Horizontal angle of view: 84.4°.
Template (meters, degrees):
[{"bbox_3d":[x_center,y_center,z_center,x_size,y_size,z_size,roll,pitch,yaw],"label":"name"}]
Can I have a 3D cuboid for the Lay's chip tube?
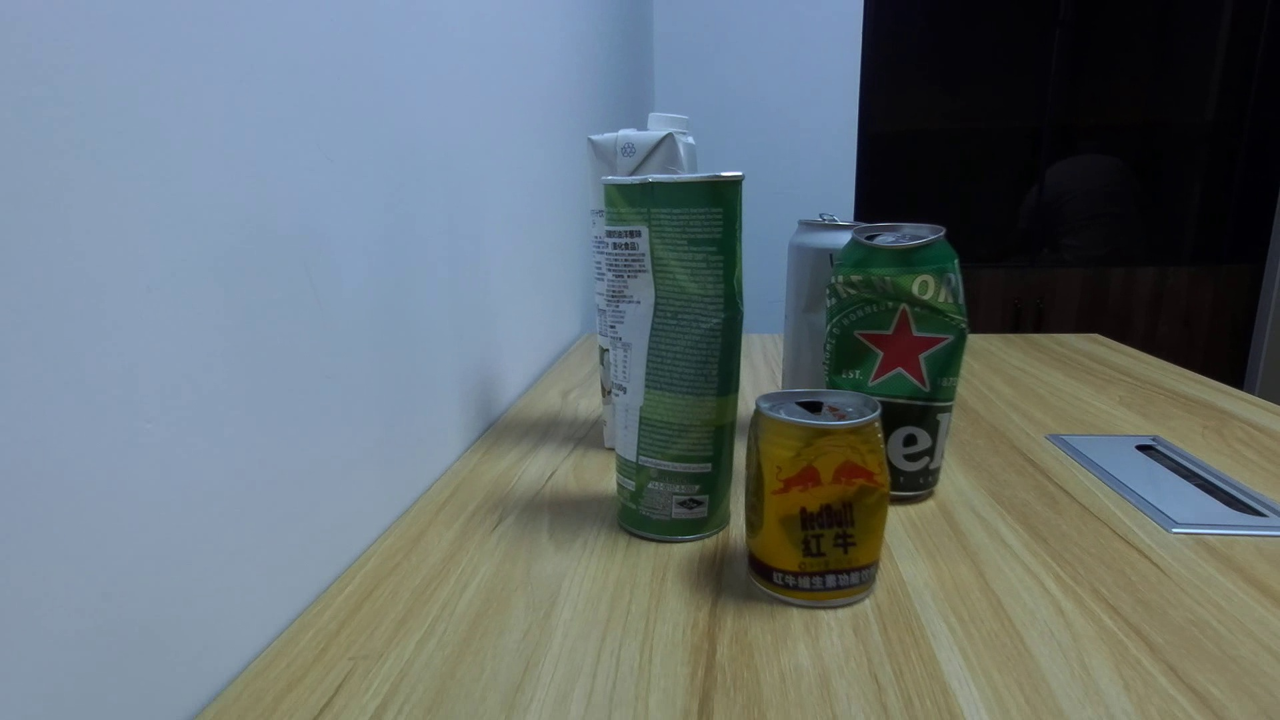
[{"bbox_3d":[0.017,-0.001,0.403,0.075,0.199,0.069,-1,13,-2],"label":"Lay's chip tube"}]

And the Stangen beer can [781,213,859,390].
[{"bbox_3d":[0.148,-0.025,0.547,0.069,0.173,0.070,12,21,34],"label":"Stangen beer can"}]

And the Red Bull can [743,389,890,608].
[{"bbox_3d":[0.086,0.064,0.349,0.072,0.092,0.072,-2,14,1],"label":"Red Bull can"}]

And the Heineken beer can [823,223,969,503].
[{"bbox_3d":[0.158,0.003,0.444,0.069,0.168,0.068,-8,16,-20],"label":"Heineken beer can"}]

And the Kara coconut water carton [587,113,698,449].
[{"bbox_3d":[0.012,-0.059,0.534,0.075,0.245,0.077,-1,15,11],"label":"Kara coconut water carton"}]
